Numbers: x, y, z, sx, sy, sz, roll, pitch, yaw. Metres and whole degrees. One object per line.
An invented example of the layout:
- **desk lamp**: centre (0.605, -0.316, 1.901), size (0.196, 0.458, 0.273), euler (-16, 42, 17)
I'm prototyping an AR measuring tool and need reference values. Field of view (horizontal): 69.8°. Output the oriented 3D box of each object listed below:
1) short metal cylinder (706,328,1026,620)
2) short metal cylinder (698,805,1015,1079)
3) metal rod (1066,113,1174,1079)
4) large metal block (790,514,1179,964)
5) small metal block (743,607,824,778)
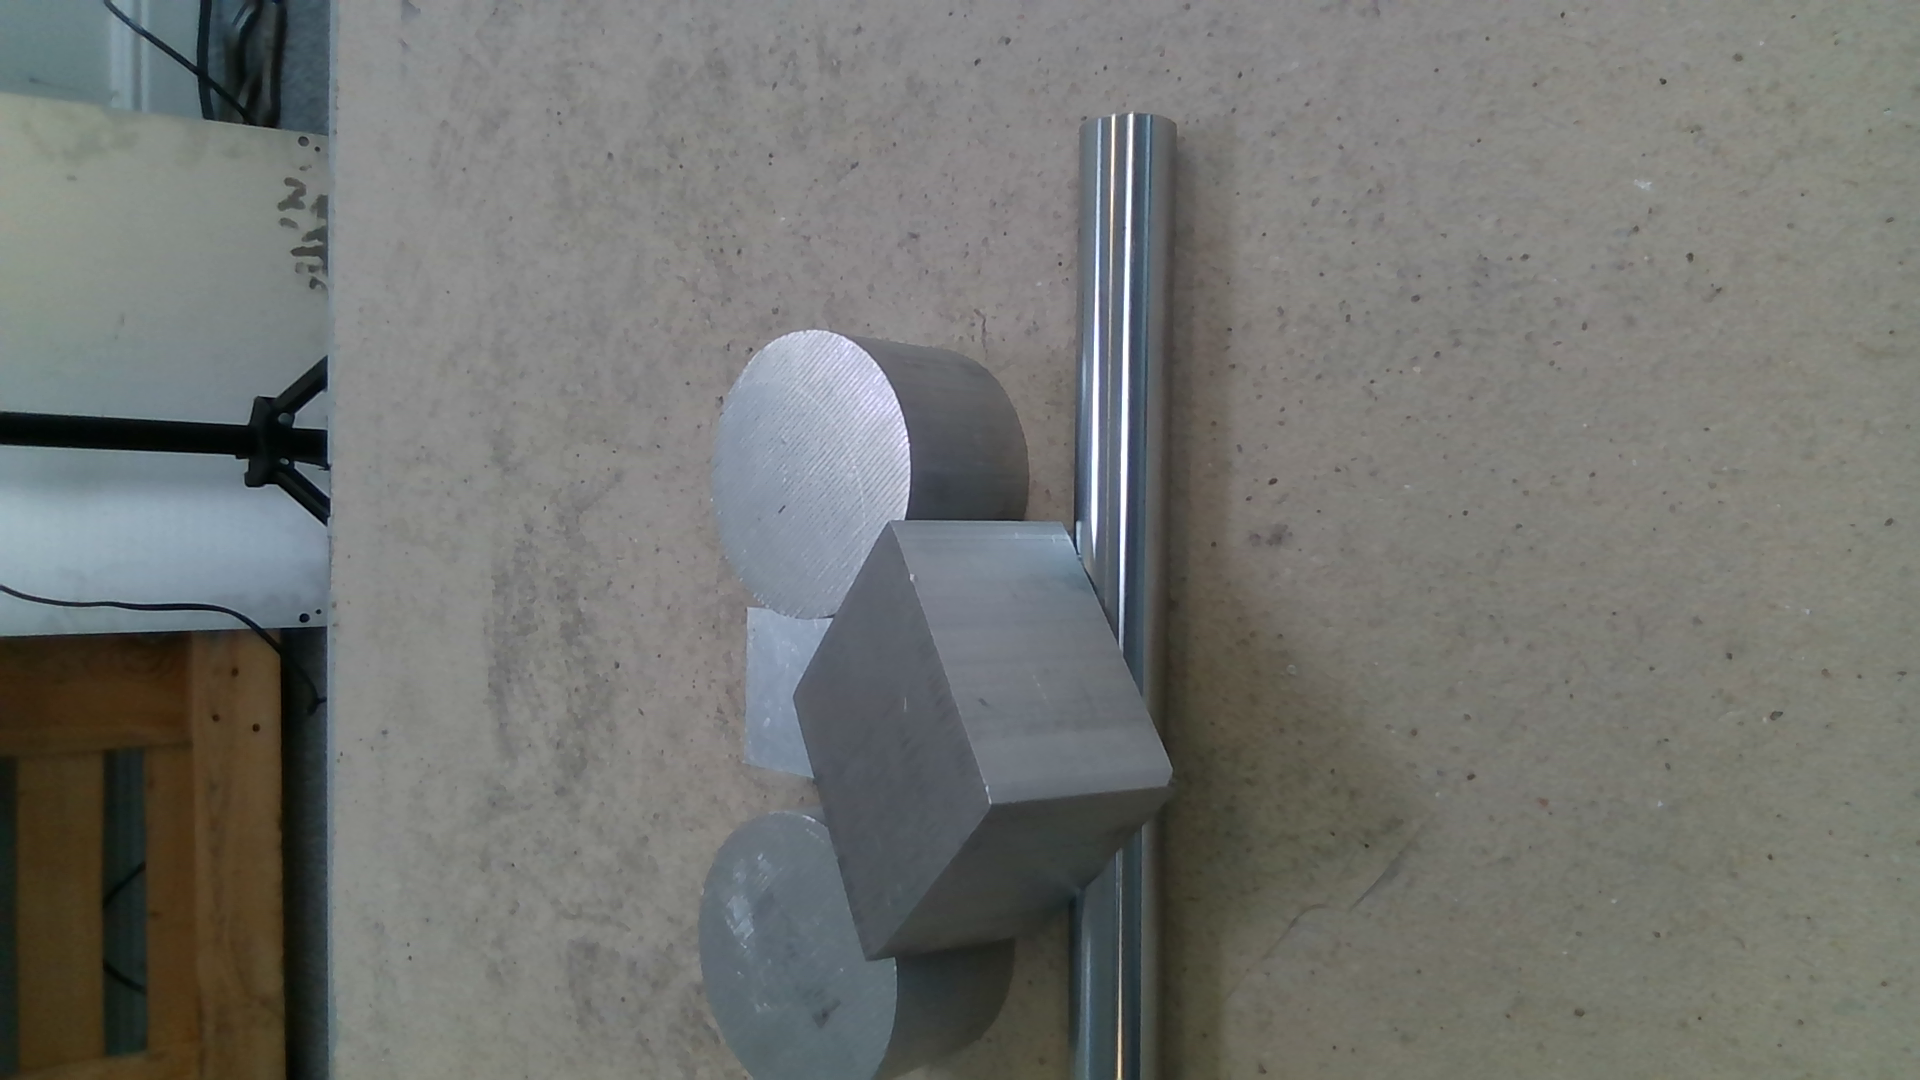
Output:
- **short metal cylinder**: centre (-0.028, -0.018, 0.397), size (0.080, 0.050, 0.080), euler (0, 91, 40)
- **short metal cylinder**: centre (-0.031, 0.116, 0.402), size (0.080, 0.050, 0.080), euler (0, 91, 40)
- **metal rod**: centre (0.041, 0.044, 0.356), size (0.025, 0.025, 0.300), euler (2, 91, 40)
- **large metal block**: centre (0.001, 0.050, 0.351), size (0.080, 0.050, 0.080), euler (-59, 41, 43)
- **small metal block**: centre (-0.041, 0.047, 0.427), size (0.050, 0.025, 0.050), euler (3, 92, 40)
